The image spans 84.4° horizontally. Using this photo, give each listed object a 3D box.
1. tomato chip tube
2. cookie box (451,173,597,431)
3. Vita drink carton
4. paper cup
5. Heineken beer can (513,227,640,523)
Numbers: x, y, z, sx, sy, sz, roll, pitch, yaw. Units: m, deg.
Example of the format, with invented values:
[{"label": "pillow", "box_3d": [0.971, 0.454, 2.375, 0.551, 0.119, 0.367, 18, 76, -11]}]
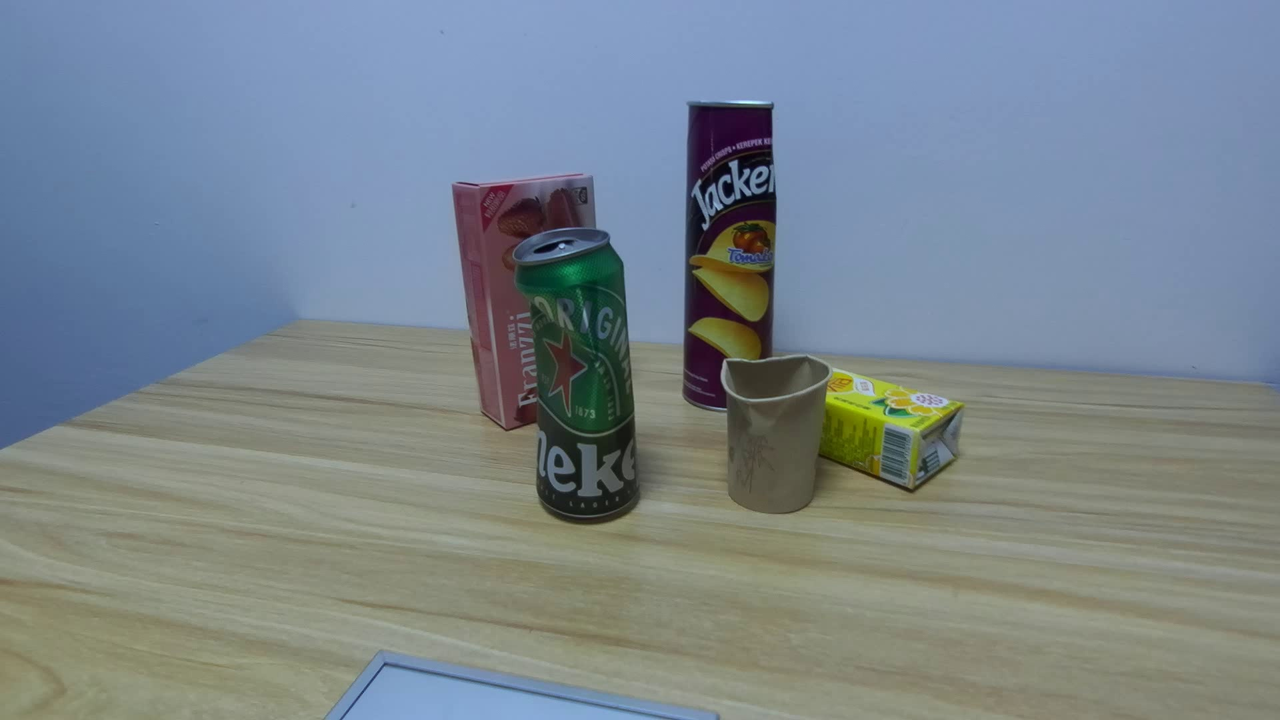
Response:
[{"label": "tomato chip tube", "box_3d": [0.072, -0.081, 0.558, 0.076, 0.235, 0.078, 5, 21, 16]}, {"label": "cookie box", "box_3d": [-0.080, -0.047, 0.553, 0.096, 0.185, 0.048, -16, 23, -32]}, {"label": "Vita drink carton", "box_3d": [0.159, 0.044, 0.497, 0.067, 0.043, 0.108, -16, 24, -40]}, {"label": "paper cup", "box_3d": [0.085, 0.046, 0.435, 0.072, 0.084, 0.066, -4, 21, -7]}, {"label": "Heineken beer can", "box_3d": [-0.038, 0.011, 0.422, 0.069, 0.168, 0.068, 2, 22, 15]}]
